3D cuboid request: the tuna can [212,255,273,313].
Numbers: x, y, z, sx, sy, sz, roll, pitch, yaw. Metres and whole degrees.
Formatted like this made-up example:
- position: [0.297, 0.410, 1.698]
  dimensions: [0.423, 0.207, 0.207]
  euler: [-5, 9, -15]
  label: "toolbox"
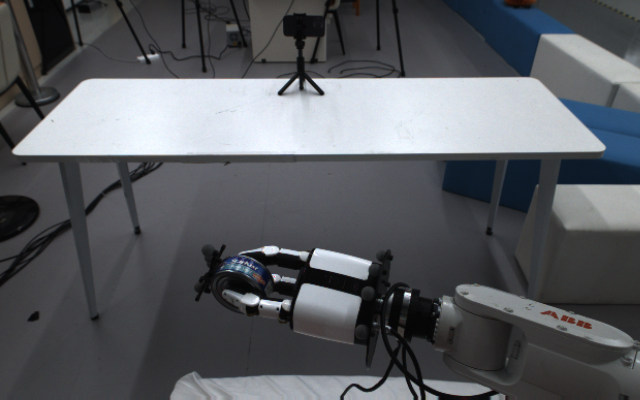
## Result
- position: [-0.108, 0.125, 0.678]
  dimensions: [0.085, 0.085, 0.034]
  euler: [10, 36, 11]
  label: "tuna can"
